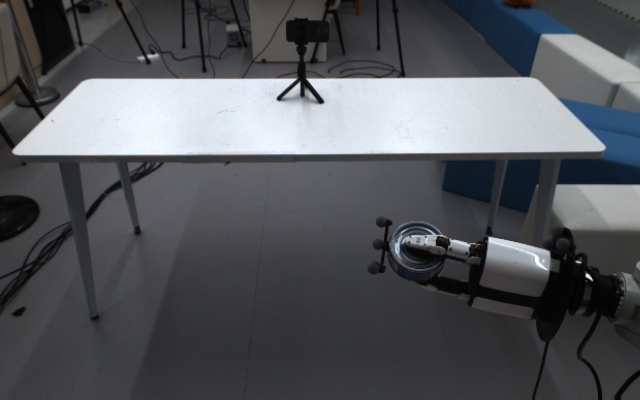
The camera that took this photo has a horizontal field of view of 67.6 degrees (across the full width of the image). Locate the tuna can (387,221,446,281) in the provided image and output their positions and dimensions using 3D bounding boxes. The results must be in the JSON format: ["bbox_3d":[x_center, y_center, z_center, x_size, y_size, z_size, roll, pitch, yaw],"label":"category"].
[{"bbox_3d":[0.147,0.074,0.714,0.085,0.034,0.085,-2,57,2],"label":"tuna can"}]
